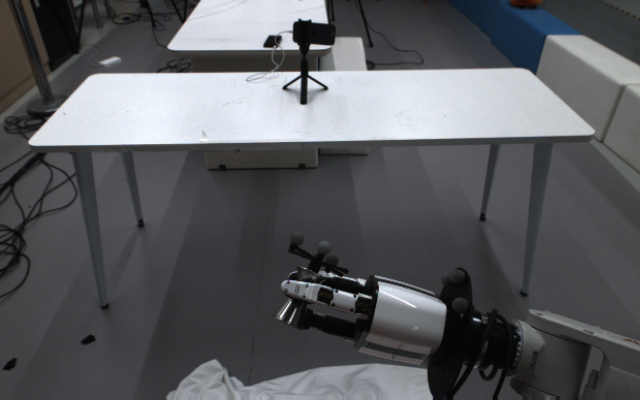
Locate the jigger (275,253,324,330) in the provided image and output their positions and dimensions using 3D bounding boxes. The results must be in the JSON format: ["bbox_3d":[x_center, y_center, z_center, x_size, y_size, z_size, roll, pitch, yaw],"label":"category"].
[{"bbox_3d":[-0.025,0.118,0.589,0.043,0.043,0.071,19,72,23],"label":"jigger"}]
